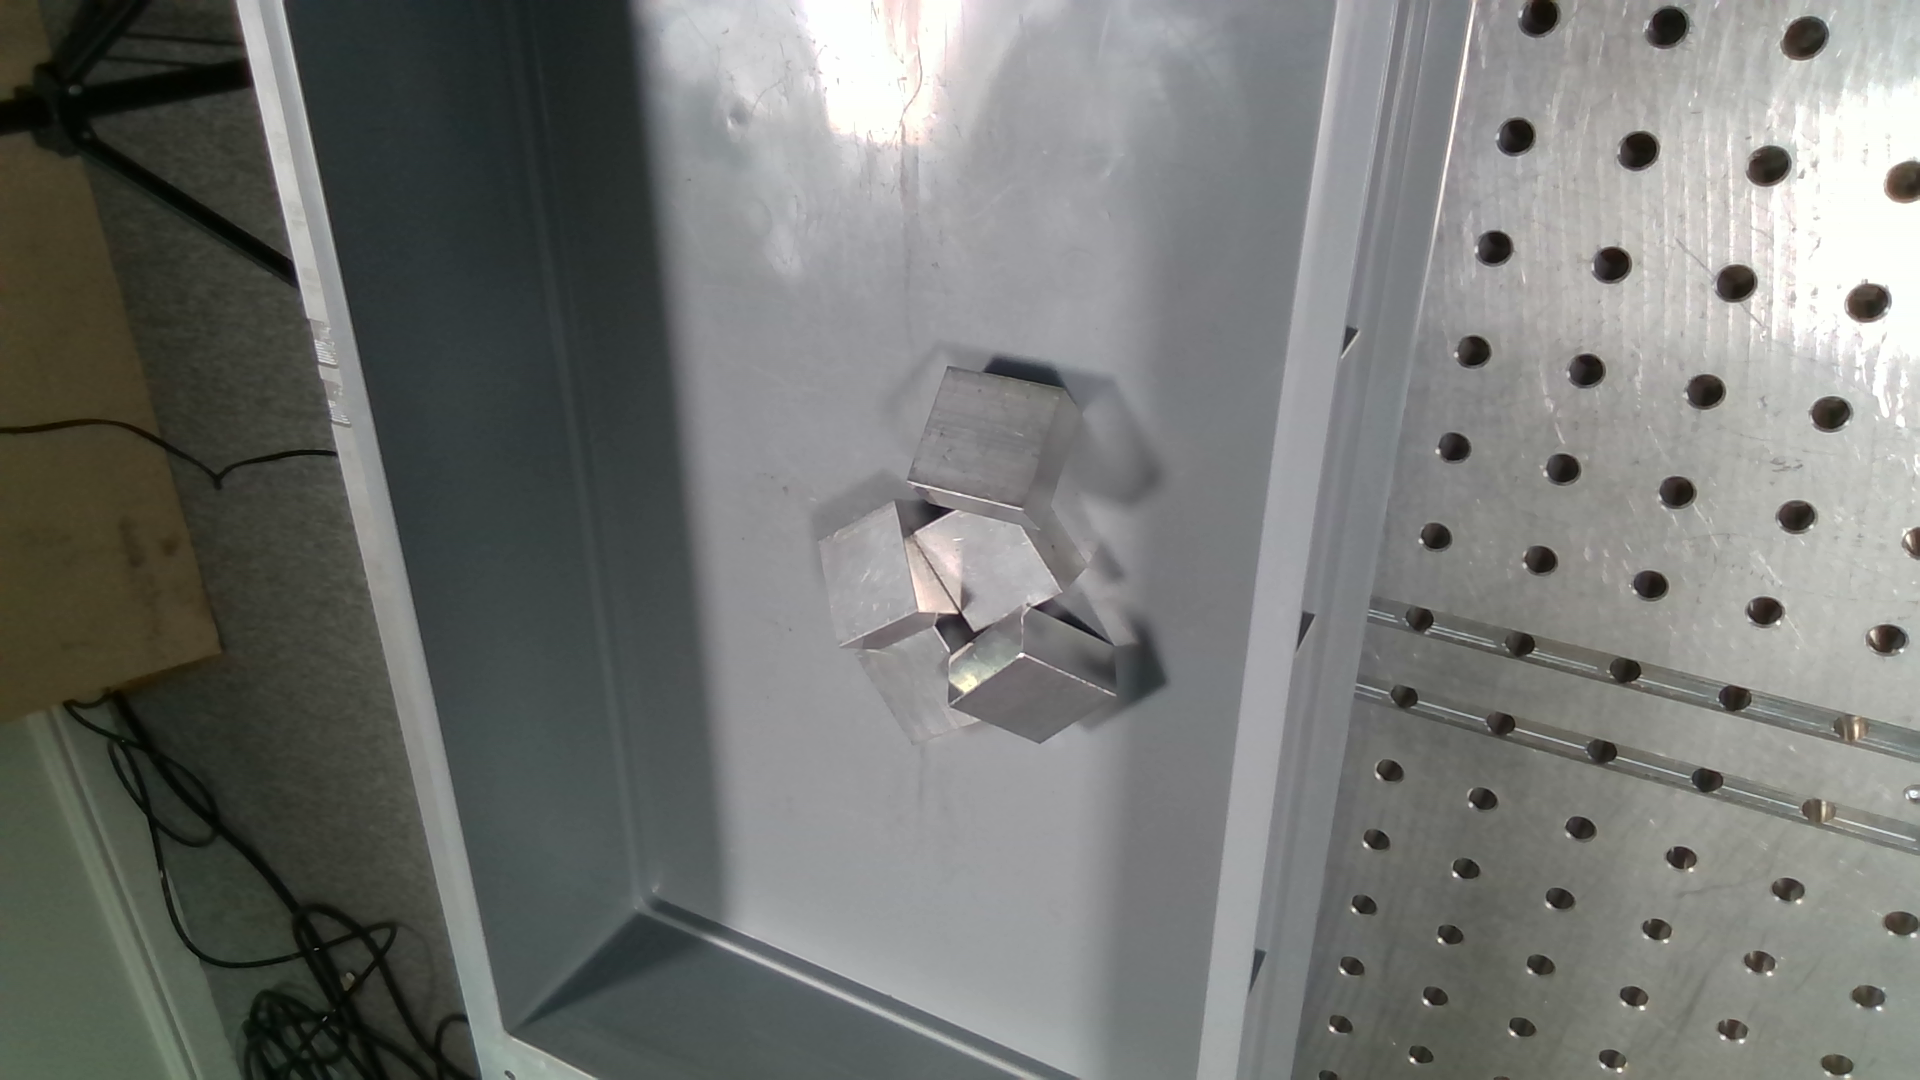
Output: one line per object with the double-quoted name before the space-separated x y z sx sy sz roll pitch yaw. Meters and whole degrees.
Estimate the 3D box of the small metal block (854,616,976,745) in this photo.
"small metal block" -0.011 0.058 0.617 0.050 0.025 0.050 -25 100 38

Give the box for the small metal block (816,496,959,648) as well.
"small metal block" -0.032 0.015 0.591 0.050 0.025 0.050 -26 68 38

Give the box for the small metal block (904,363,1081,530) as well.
"small metal block" 0.013 -0.036 0.533 0.050 0.025 0.050 15 78 24

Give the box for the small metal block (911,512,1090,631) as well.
"small metal block" 0.017 0.004 0.570 0.050 0.025 0.050 -27 99 39

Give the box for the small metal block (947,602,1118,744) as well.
"small metal block" 0.030 0.057 0.576 0.050 0.025 0.050 26 136 -27
